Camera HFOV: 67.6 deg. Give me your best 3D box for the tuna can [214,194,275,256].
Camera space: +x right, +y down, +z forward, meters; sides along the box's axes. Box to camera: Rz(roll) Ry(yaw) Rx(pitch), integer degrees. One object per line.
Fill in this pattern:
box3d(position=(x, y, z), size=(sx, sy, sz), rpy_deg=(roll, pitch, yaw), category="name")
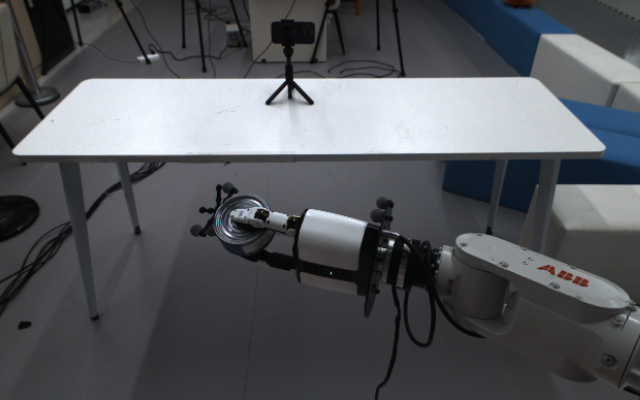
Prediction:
box3d(position=(-0.105, 0.033, 0.690), size=(0.085, 0.034, 0.085), rpy_deg=(-3, 59, 5), category="tuna can")
